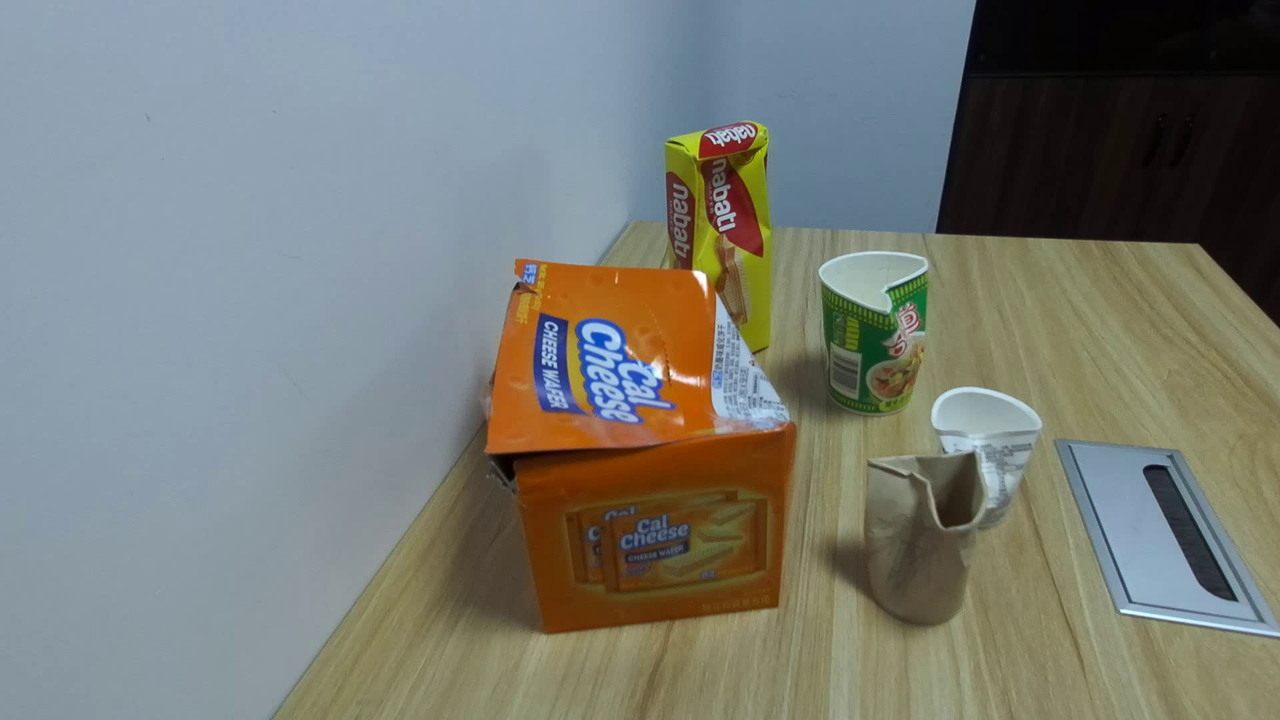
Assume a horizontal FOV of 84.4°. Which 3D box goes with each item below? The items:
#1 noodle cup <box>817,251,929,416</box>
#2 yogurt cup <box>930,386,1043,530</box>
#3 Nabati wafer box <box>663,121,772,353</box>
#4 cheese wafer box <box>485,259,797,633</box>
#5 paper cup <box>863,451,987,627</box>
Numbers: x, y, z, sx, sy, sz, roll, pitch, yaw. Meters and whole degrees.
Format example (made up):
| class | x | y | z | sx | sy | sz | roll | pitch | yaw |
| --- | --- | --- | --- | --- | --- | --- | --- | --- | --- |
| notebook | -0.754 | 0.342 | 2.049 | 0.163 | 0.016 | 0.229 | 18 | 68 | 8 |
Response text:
| class | x | y | z | sx | sy | sz | roll | pitch | yaw |
| --- | --- | --- | --- | --- | --- | --- | --- | --- | --- |
| noodle cup | 0.189 | -0.021 | 0.569 | 0.094 | 0.109 | 0.086 | -22 | 37 | -25 |
| yogurt cup | 0.223 | 0.065 | 0.470 | 0.067 | 0.070 | 0.067 | -3 | 32 | 2 |
| Nabati wafer box | 0.071 | -0.091 | 0.607 | 0.097 | 0.203 | 0.042 | -21 | 33 | -29 |
| cheese wafer box | 0.009 | 0.035 | 0.469 | 0.191 | 0.145 | 0.218 | -6 | 33 | -3 |
| paper cup | 0.159 | 0.101 | 0.406 | 0.058 | 0.083 | 0.066 | 3 | 33 | 15 |
